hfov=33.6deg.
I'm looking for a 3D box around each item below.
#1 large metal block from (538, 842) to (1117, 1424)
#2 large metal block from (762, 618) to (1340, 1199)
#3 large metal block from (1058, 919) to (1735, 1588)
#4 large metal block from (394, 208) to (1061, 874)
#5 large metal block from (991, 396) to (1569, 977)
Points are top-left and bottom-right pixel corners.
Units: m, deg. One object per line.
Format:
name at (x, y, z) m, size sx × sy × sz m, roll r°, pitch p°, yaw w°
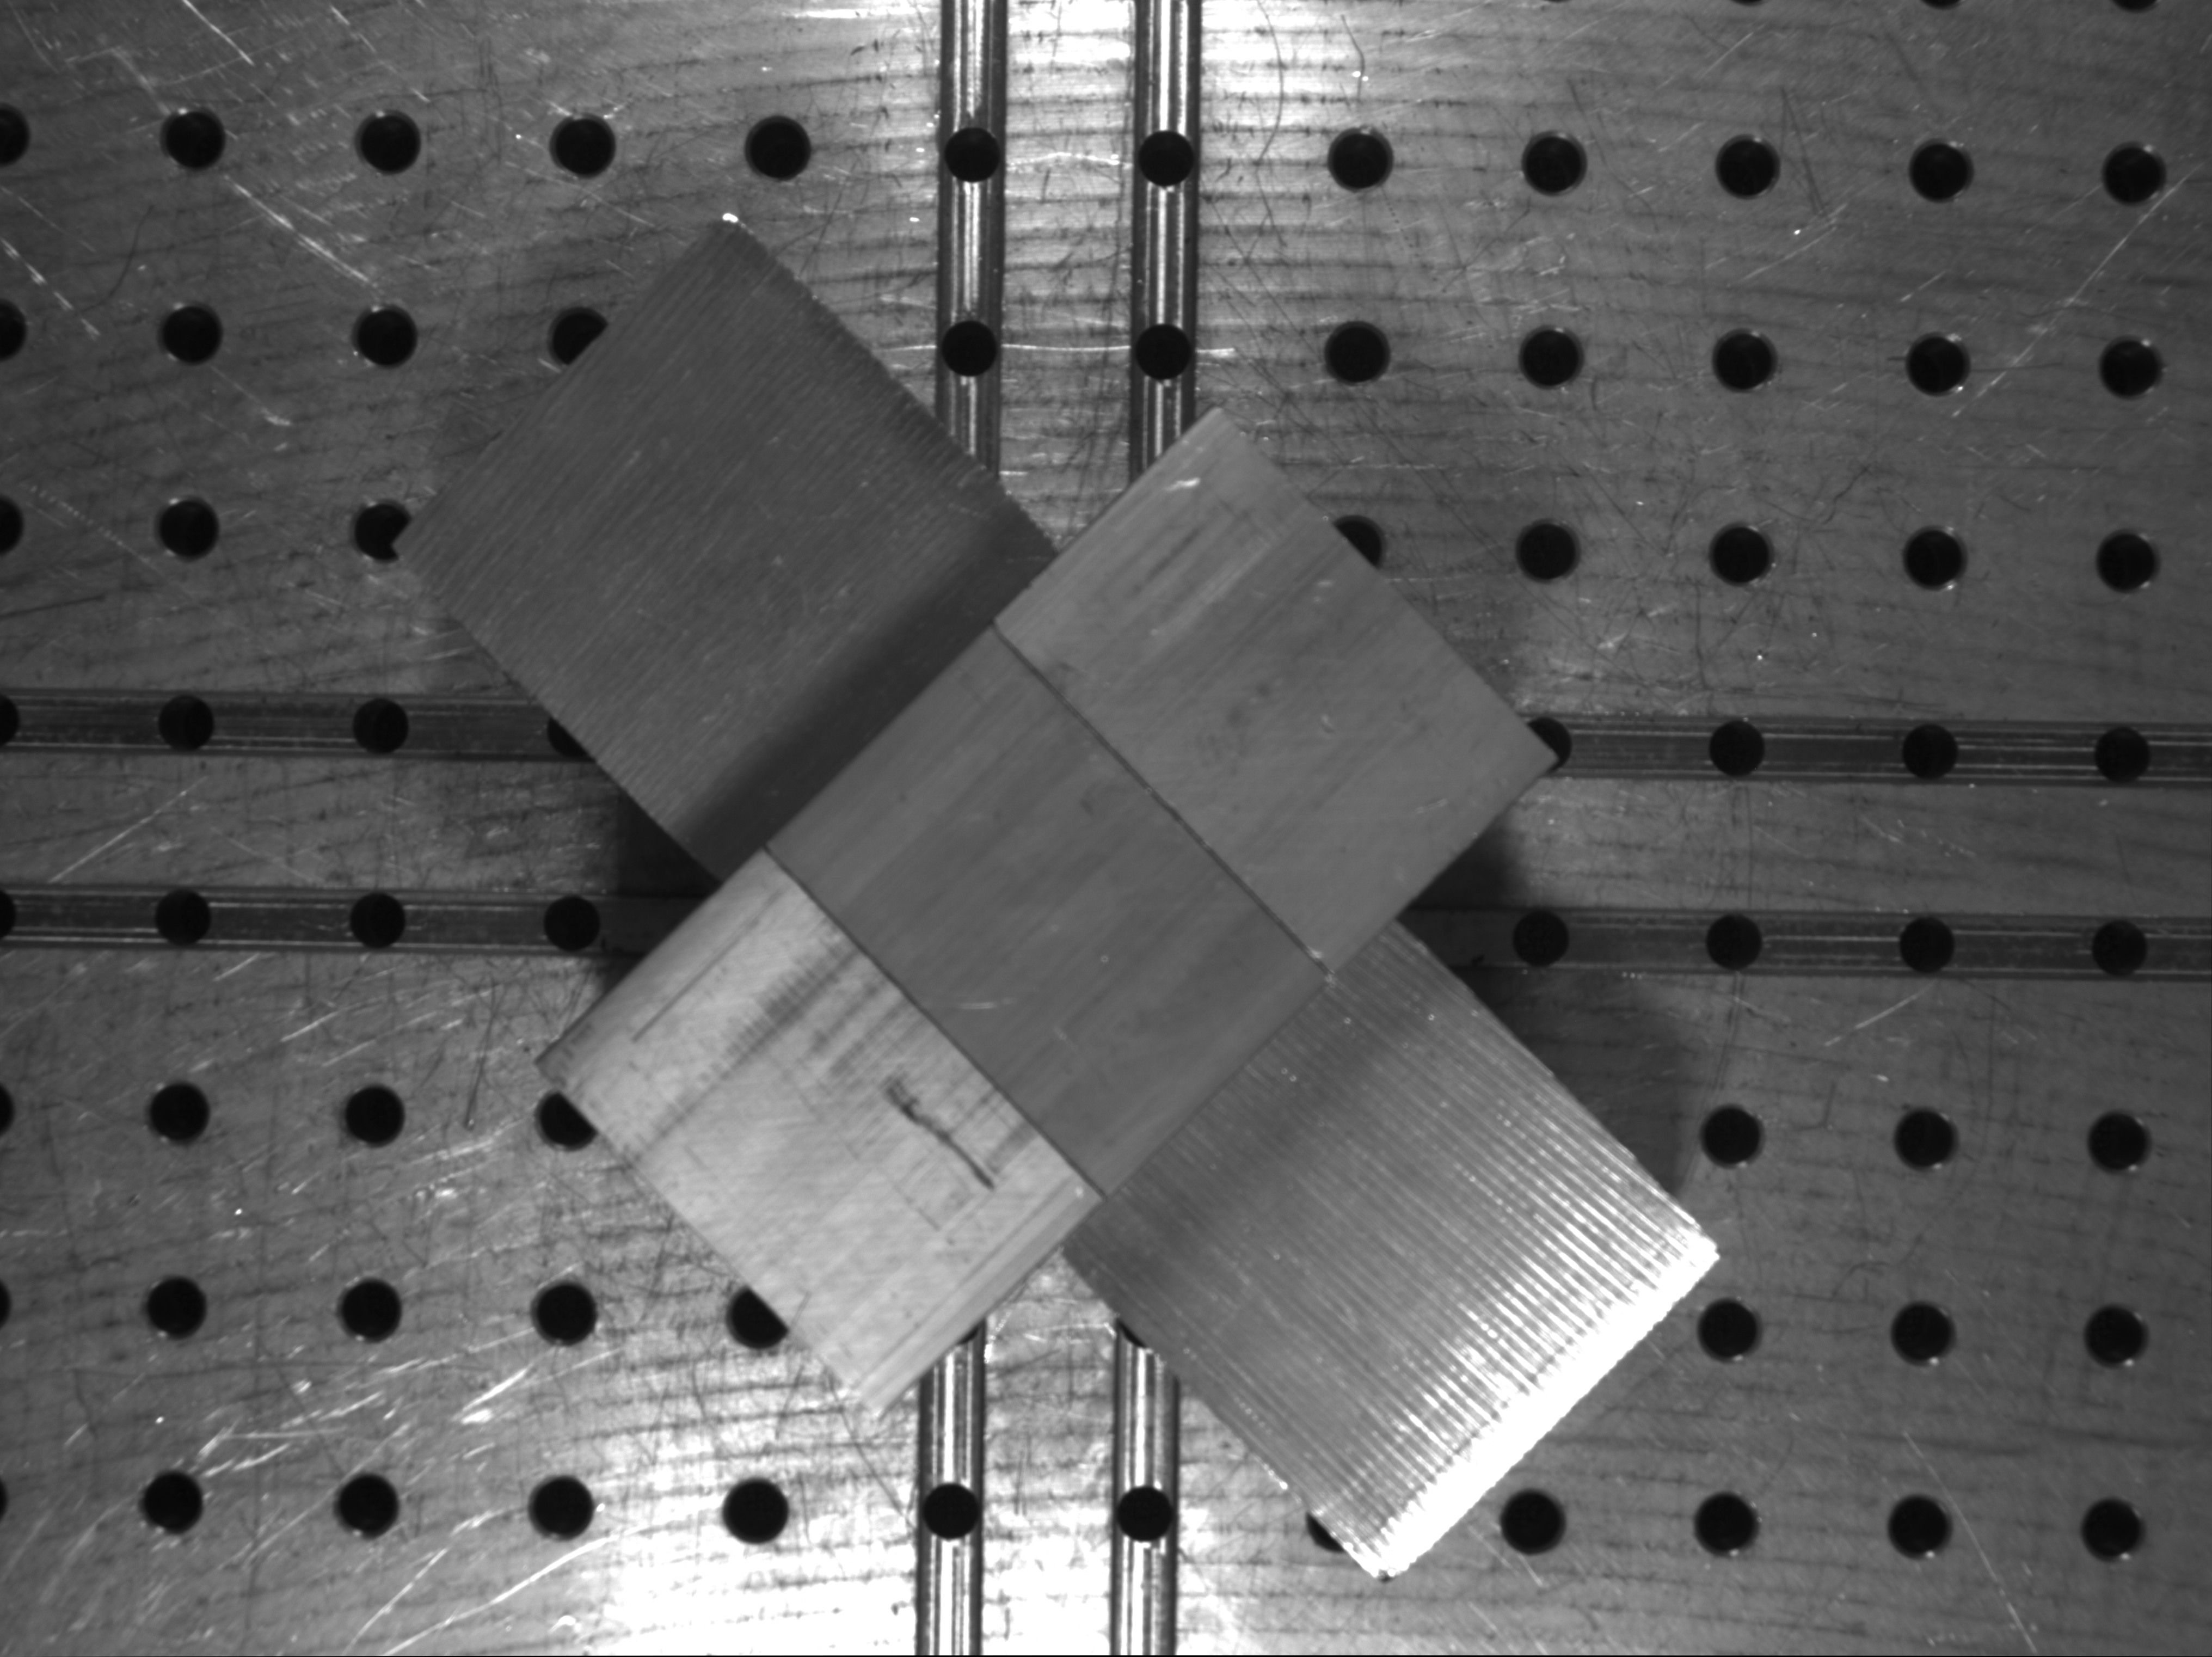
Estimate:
large metal block at (-0.044, 0.048, 0.620) m, size 0.050 × 0.080 × 0.080 m, roll -44°, pitch 90°, yaw 0°
large metal block at (-0.009, 0.013, 0.620) m, size 0.050 × 0.080 × 0.080 m, roll -44°, pitch 90°, yaw 0°
large metal block at (0.048, 0.070, 0.635) m, size 0.080 × 0.050 × 0.080 m, roll -44°, pitch 90°, yaw 1°
large metal block at (-0.061, -0.046, 0.632) m, size 0.080 × 0.050 × 0.080 m, roll 45°, pitch 91°, yaw 0°
large metal block at (0.027, -0.022, 0.621) m, size 0.050 × 0.080 × 0.080 m, roll -44°, pitch 90°, yaw 0°
